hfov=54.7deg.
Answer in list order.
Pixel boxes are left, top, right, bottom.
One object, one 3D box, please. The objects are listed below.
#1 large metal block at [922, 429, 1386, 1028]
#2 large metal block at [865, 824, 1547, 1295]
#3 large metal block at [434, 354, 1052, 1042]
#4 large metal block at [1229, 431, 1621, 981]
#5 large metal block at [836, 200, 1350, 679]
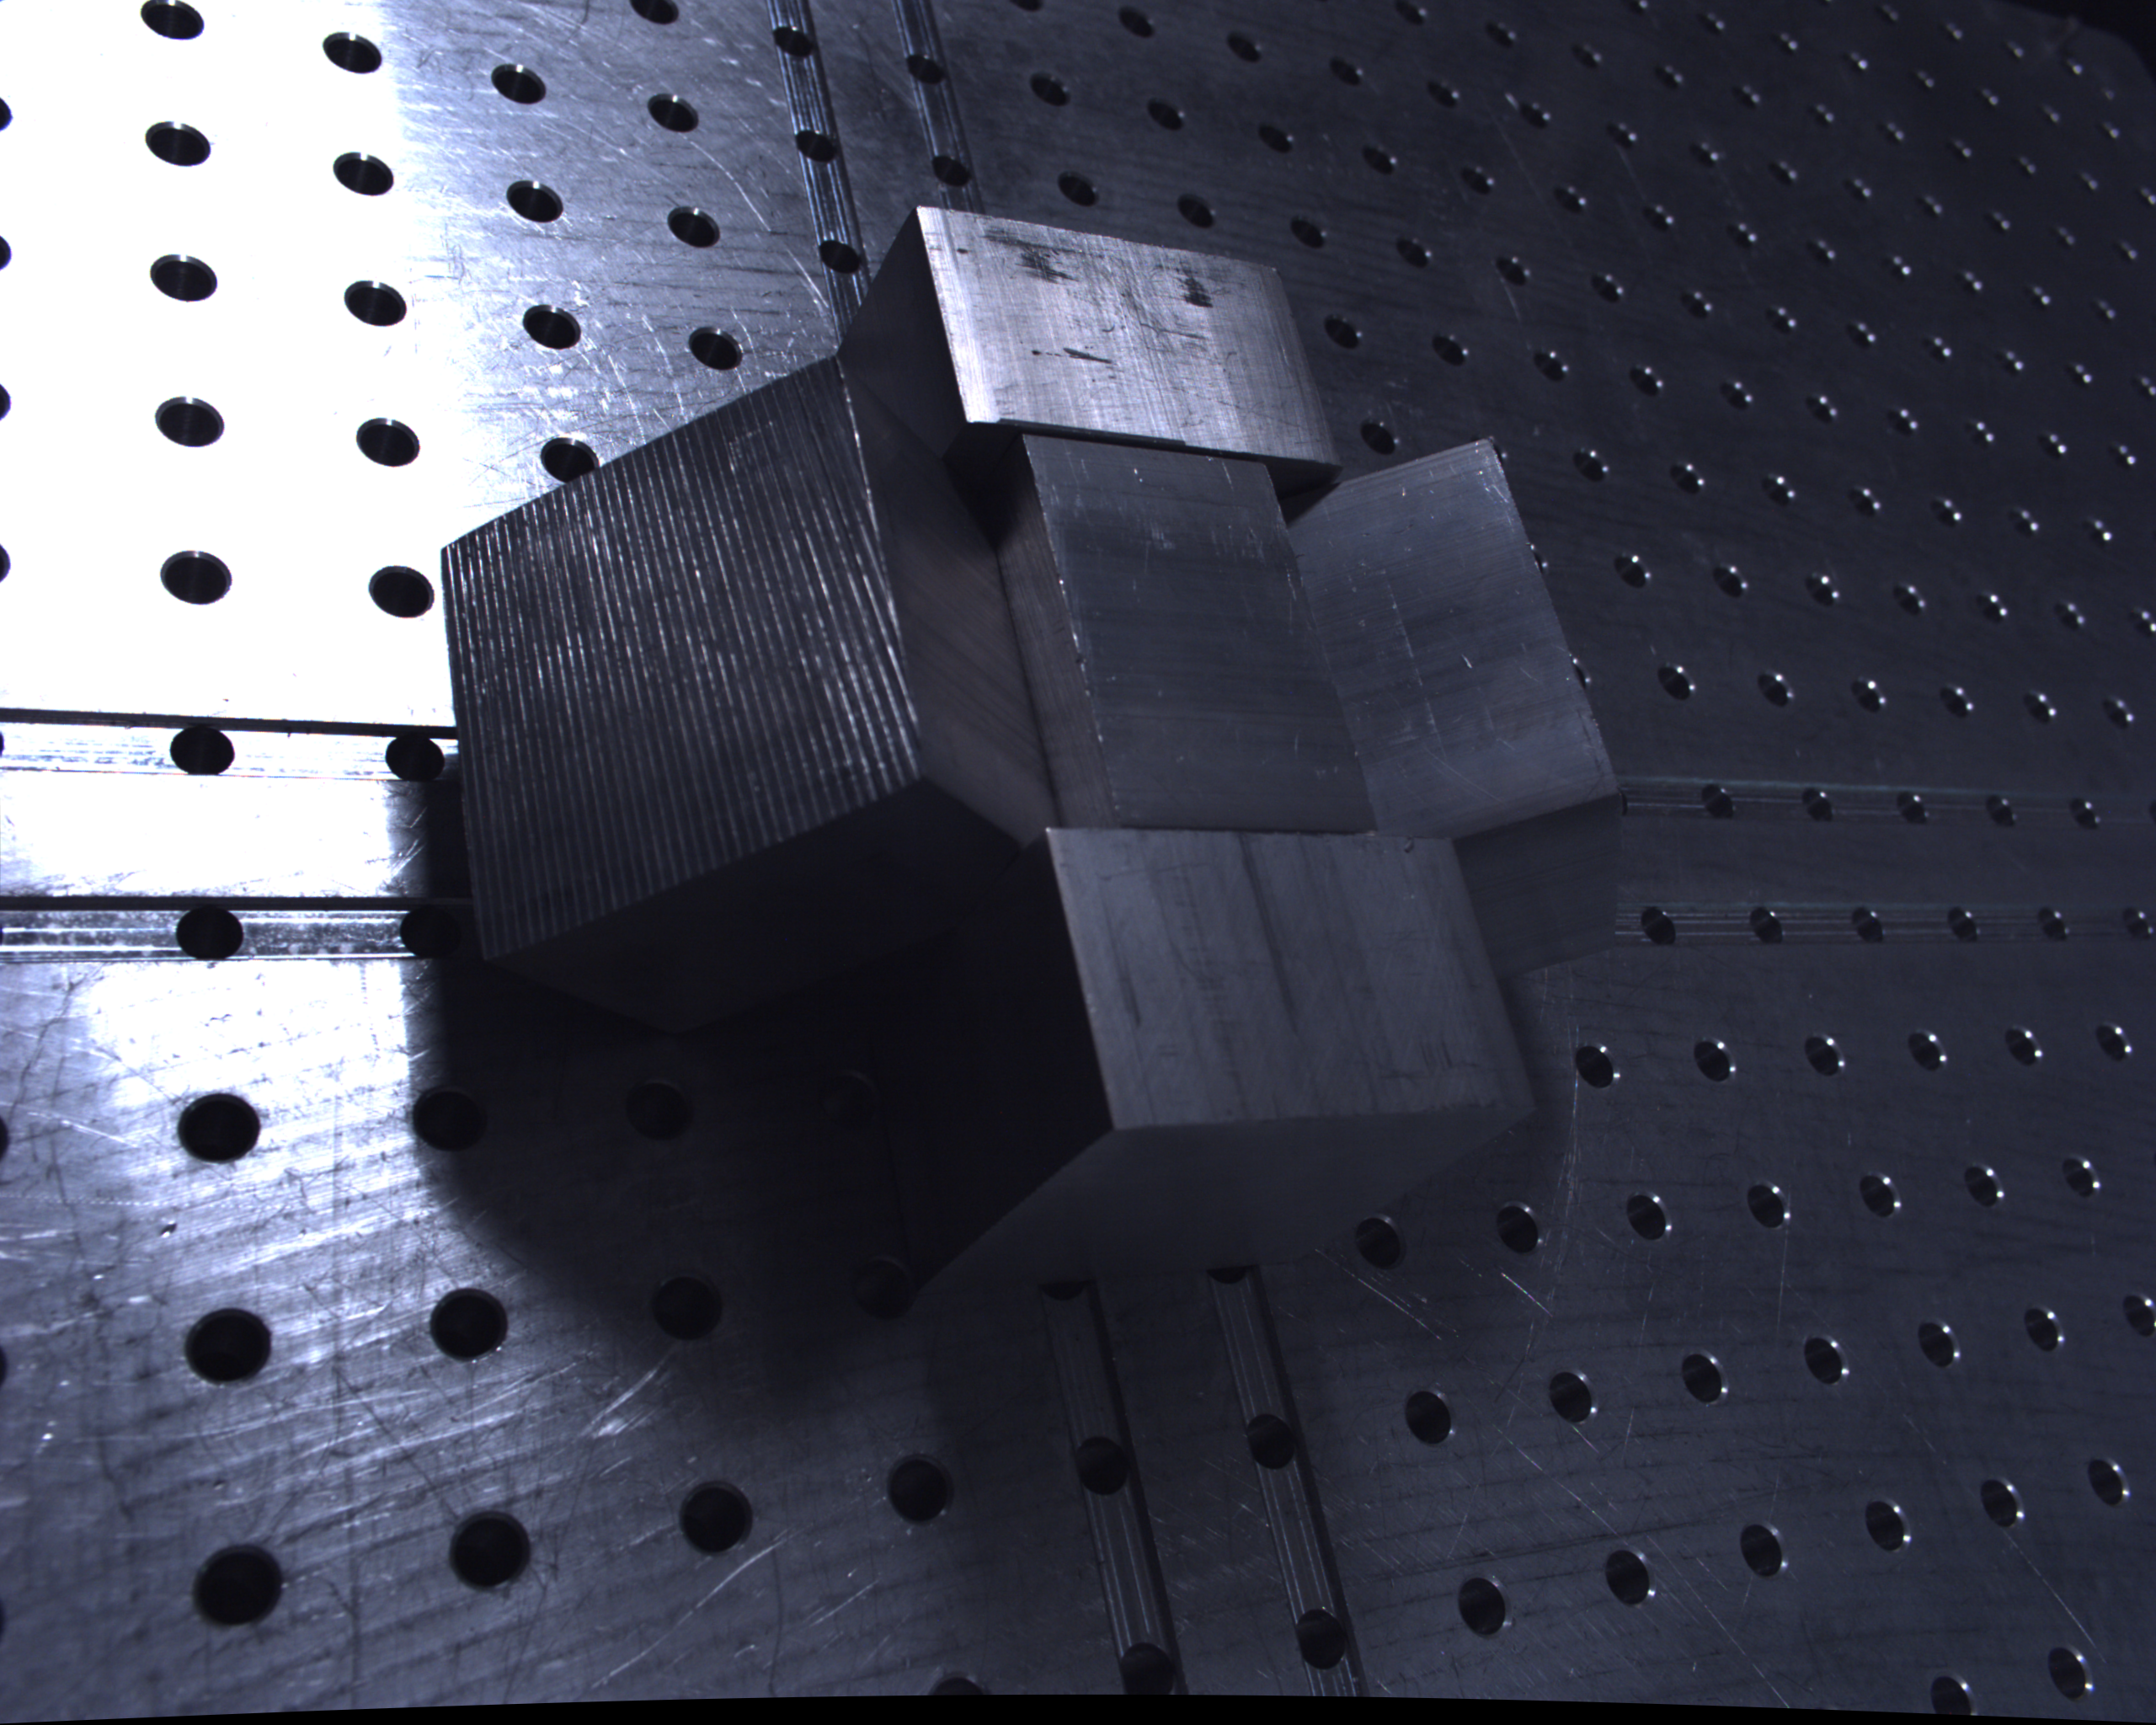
[{"bbox_3d":[0.004,-0.021,0.388,0.050,0.080,0.080,1,61,-28],"label":"large metal block"},{"bbox_3d":[0.018,0.035,0.361,0.081,0.080,0.050,1,62,-28],"label":"large metal block"},{"bbox_3d":[-0.056,-0.025,0.351,0.050,0.080,0.080,37,36,-59],"label":"large metal block"},{"bbox_3d":[0.070,-0.025,0.416,0.050,0.080,0.080,-16,64,6],"label":"large metal block"},{"bbox_3d":[-0.006,-0.079,0.418,0.081,0.080,0.050,1,62,-28],"label":"large metal block"}]
